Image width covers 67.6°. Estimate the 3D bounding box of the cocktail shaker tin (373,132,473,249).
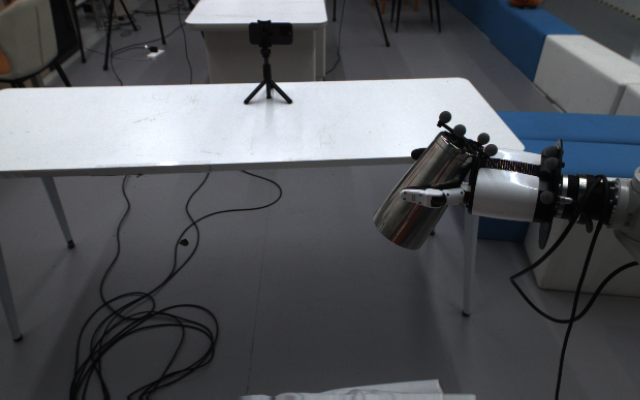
[{"bbox_3d":[0.164,-0.021,0.743,0.093,0.170,0.093,25,29,-15],"label":"cocktail shaker tin"}]
